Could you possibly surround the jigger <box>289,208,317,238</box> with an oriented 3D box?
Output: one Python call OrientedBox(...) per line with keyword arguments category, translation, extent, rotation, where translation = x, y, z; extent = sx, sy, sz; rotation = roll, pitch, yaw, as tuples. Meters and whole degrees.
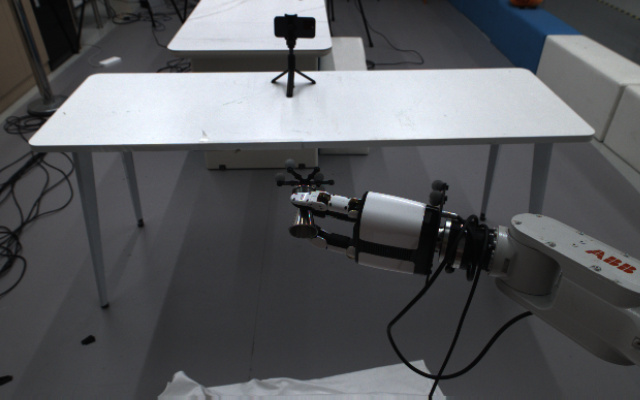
OrientedBox(category="jigger", translation=(-0.024, 0.014, 0.714), extent=(0.043, 0.043, 0.071), rotation=(2, 59, 0))
